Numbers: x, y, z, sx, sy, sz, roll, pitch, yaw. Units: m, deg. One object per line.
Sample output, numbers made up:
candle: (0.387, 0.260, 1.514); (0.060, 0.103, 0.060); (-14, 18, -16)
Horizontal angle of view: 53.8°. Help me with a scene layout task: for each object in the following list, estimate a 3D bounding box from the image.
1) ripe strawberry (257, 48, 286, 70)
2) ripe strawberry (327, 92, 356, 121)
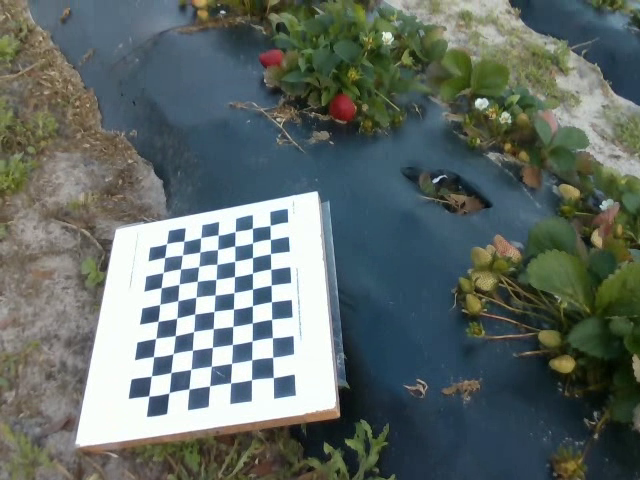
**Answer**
ripe strawberry: (-0.082, -0.302, 1.063); (0.050, 0.043, 0.043); (-2, 45, -26)
ripe strawberry: (0.035, -0.214, 0.992); (0.043, 0.047, 0.046); (-9, 21, 3)
